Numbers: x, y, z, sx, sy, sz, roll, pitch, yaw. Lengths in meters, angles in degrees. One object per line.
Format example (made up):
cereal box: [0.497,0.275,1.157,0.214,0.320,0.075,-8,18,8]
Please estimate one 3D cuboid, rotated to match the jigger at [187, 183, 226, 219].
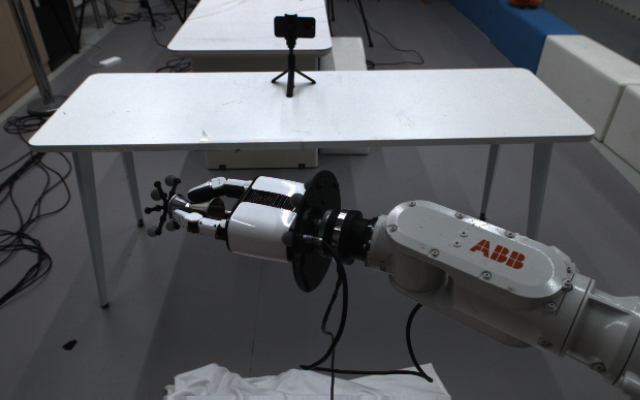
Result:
jigger: [-0.171,0.011,0.688,0.071,0.043,0.043,6,34,22]
